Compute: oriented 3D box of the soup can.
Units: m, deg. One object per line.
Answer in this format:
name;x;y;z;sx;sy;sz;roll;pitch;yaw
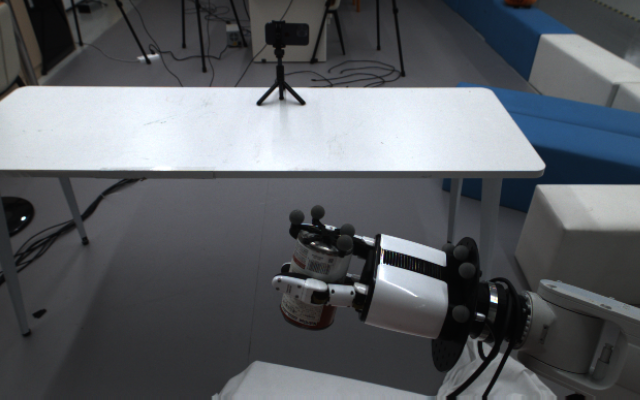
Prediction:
soup can;-0.002;0.091;0.568;0.067;0.101;0.067;13;18;-4
